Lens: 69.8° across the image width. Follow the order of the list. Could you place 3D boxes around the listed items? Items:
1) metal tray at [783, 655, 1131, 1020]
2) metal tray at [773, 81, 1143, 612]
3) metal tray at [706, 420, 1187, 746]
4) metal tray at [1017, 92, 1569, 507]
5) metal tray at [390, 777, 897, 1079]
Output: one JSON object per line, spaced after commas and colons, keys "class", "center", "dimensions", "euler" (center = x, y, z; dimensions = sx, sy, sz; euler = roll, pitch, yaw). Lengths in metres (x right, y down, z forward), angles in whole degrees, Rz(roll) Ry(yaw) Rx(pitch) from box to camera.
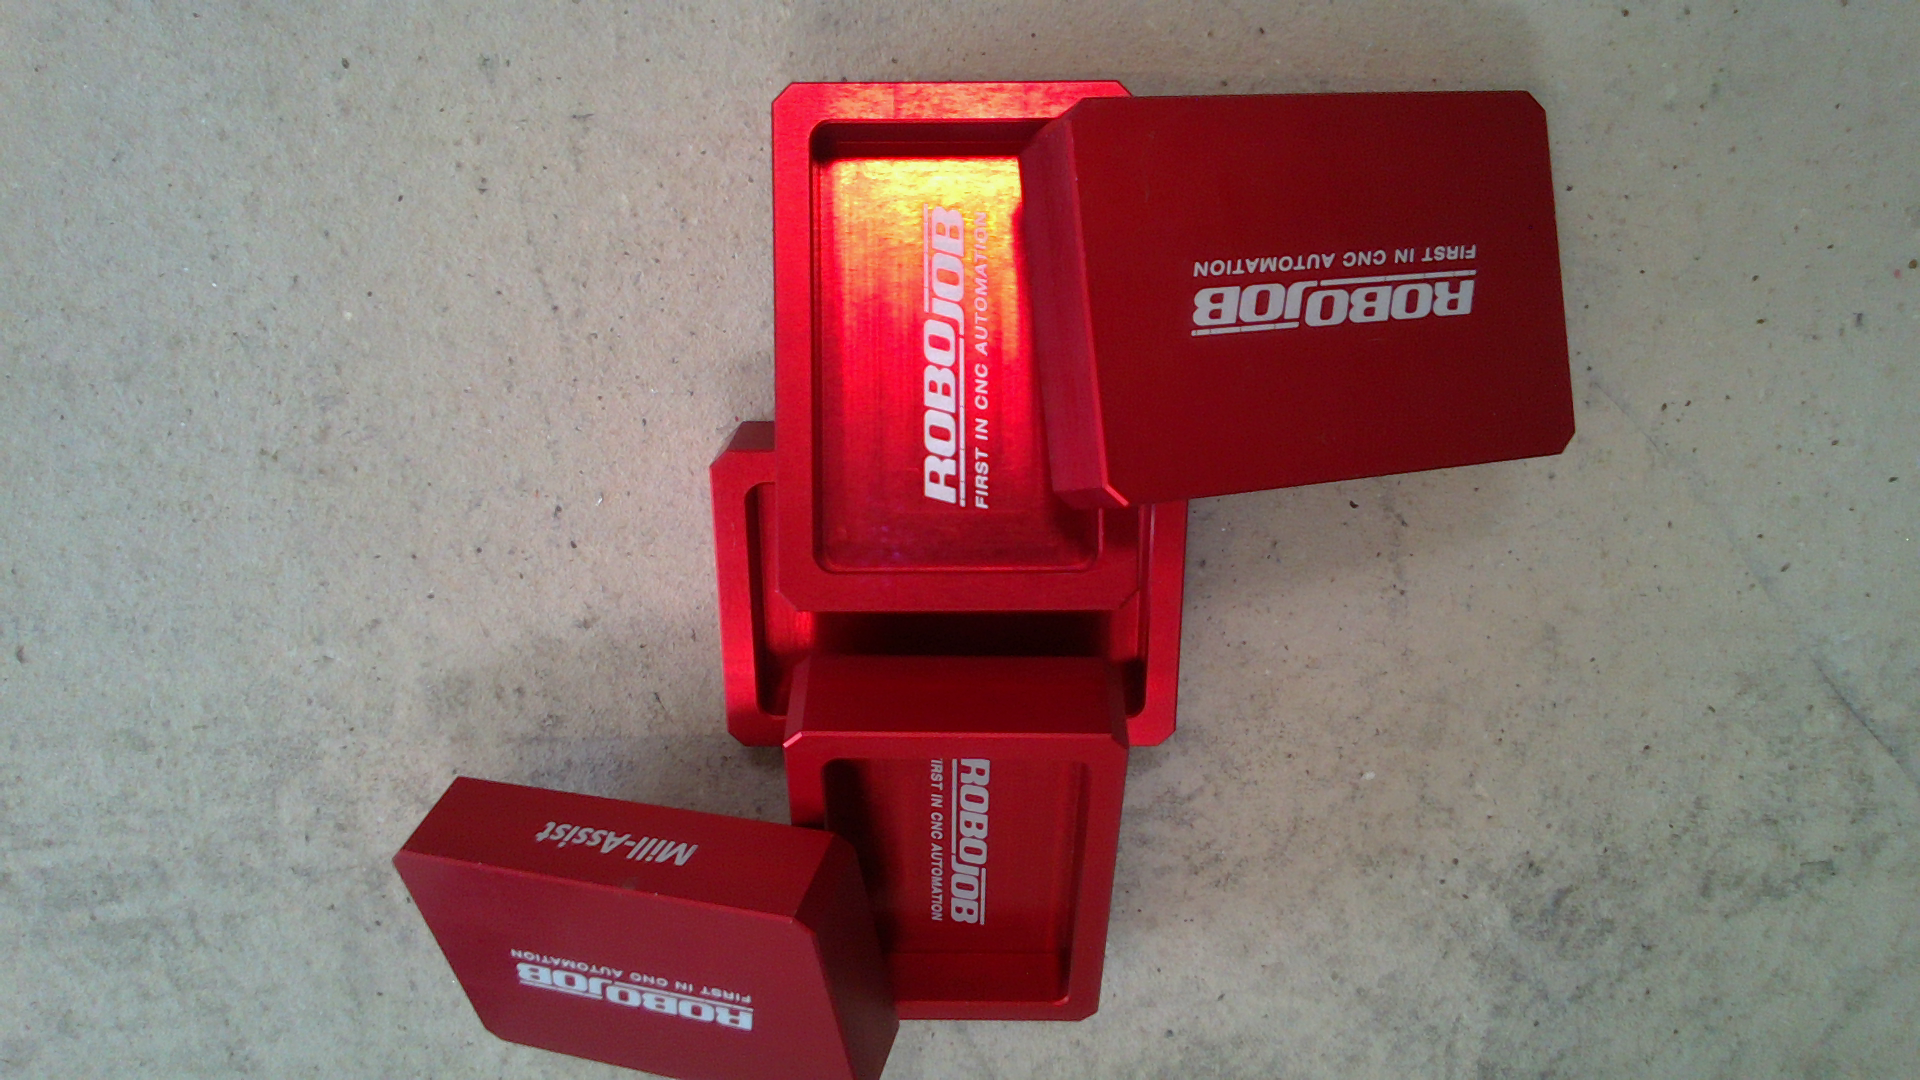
{"class": "metal tray", "center": [-0.001, 0.091, 0.404], "dimensions": [0.090, 0.030, 0.130], "euler": [1, 129, 0]}
{"class": "metal tray", "center": [0.000, -0.048, 0.353], "dimensions": [0.090, 0.030, 0.130], "euler": [0, 90, 0]}
{"class": "metal tray", "center": [-0.003, 0.013, 0.397], "dimensions": [0.130, 0.030, 0.090], "euler": [0, 110, 0]}
{"class": "metal tray", "center": [0.083, -0.060, 0.336], "dimensions": [0.130, 0.030, 0.090], "euler": [-7, 92, -20]}
{"class": "metal tray", "center": [-0.090, 0.118, 0.403], "dimensions": [0.130, 0.030, 0.090], "euler": [4, 128, 17]}
